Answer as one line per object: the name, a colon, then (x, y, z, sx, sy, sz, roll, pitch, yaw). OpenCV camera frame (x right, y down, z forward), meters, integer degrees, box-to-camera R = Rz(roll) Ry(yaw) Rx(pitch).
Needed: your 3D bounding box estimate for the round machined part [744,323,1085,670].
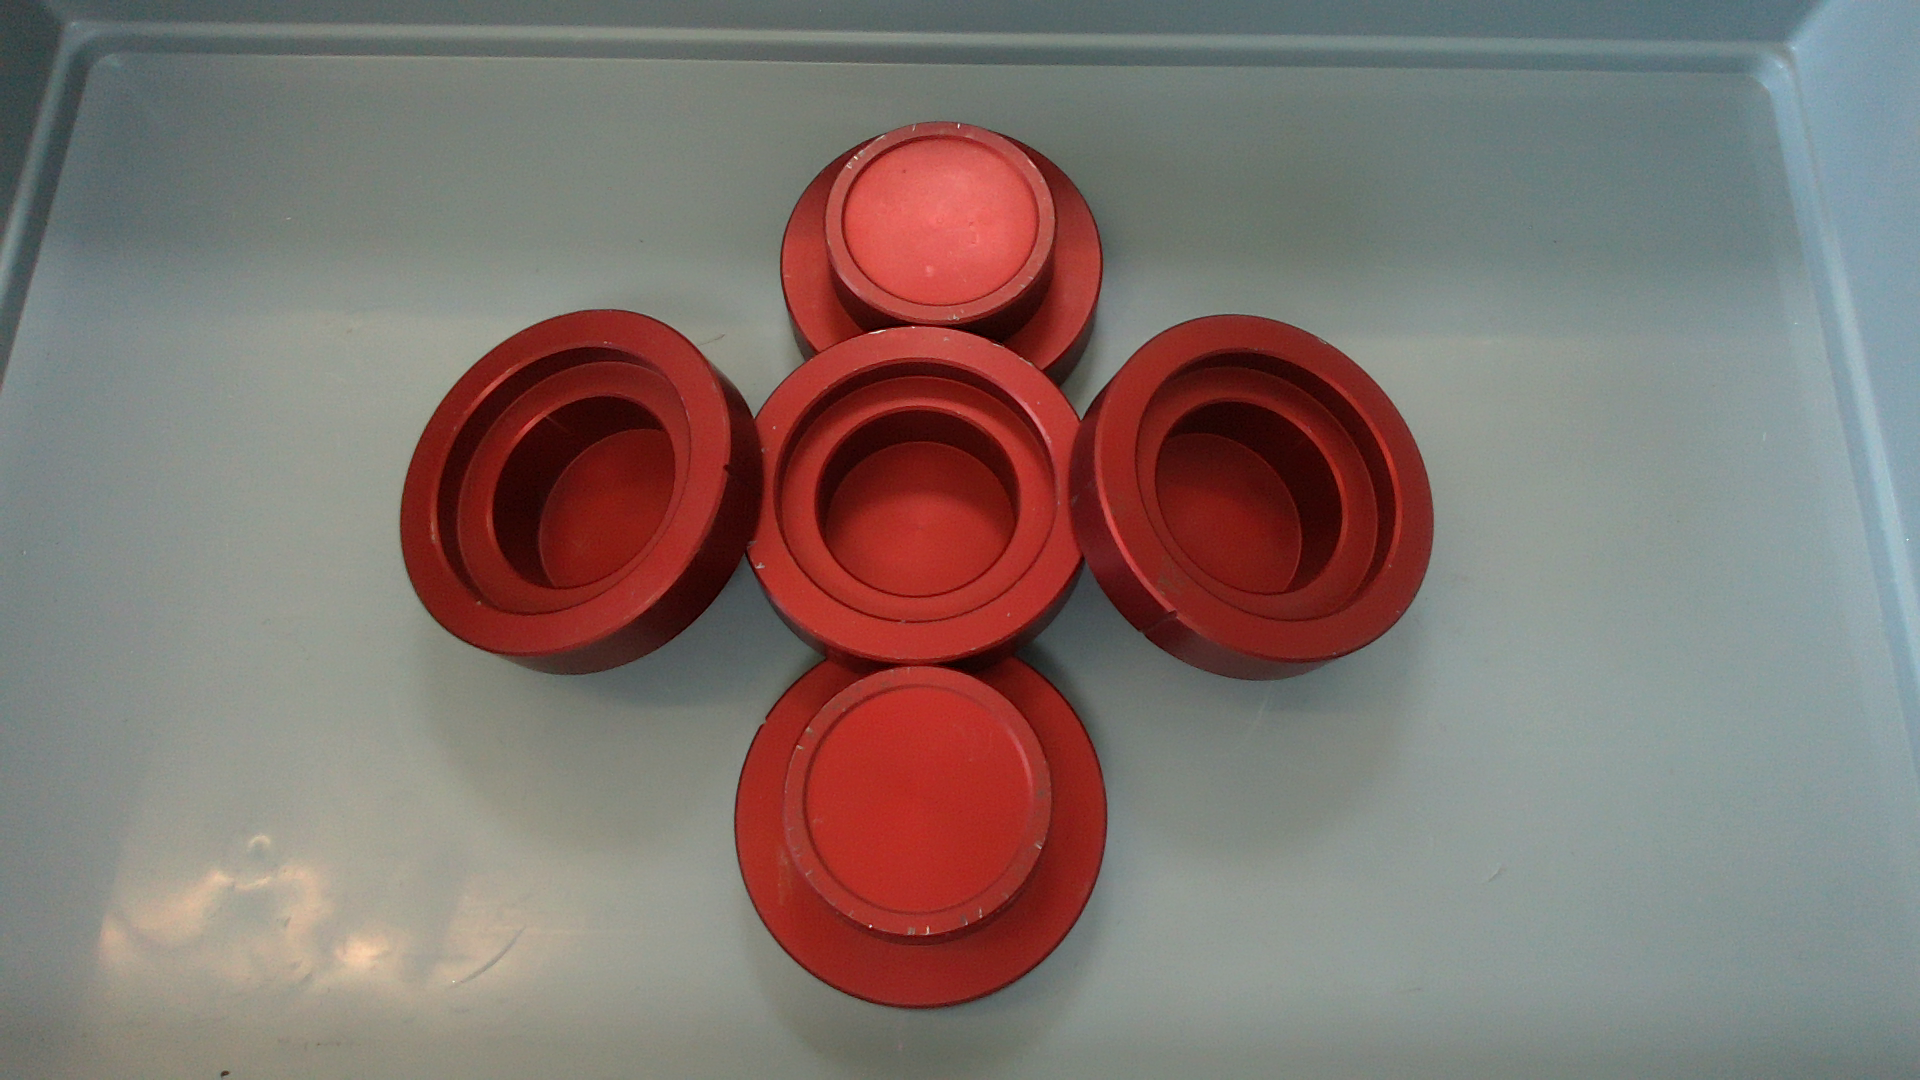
round machined part: (-0.012, -0.008, 0.386, 0.098, 0.042, 0.098, 0, 70, 0)

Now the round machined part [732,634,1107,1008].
round machined part: (-0.011, 0.070, 0.358, 0.098, 0.042, 0.098, 0, 70, 0)

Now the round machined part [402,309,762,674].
round machined part: (-0.099, -0.010, 0.379, 0.098, 0.042, 0.098, -6, 69, 16)

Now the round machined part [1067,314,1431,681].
round machined part: (0.075, -0.009, 0.379, 0.098, 0.042, 0.098, 6, 69, -15)

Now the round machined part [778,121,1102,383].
round machined part: (-0.006, -0.086, 0.415, 0.098, 0.042, 0.098, 0, 70, 0)
